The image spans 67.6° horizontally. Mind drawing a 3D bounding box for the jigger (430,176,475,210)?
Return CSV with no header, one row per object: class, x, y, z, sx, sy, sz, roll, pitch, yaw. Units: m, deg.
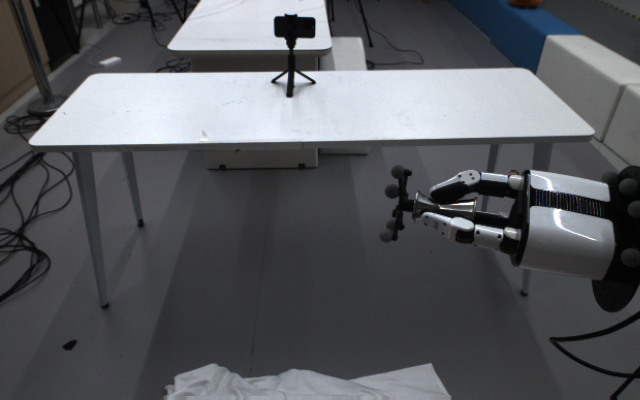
jigger,0.152,0.010,0.567,0.071,0.043,0.043,9,35,17
